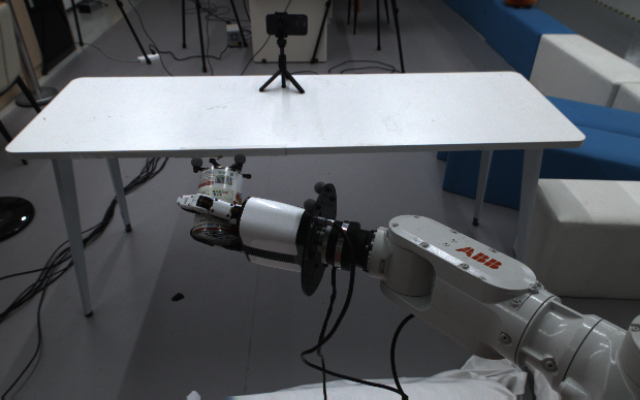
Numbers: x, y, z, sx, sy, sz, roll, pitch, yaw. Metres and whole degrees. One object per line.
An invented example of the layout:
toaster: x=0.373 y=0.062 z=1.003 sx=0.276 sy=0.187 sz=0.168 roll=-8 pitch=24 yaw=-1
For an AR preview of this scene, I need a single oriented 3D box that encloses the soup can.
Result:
soup can: x=-0.149 y=0.010 z=0.714 sx=0.067 sy=0.067 sz=0.101 roll=1 pitch=68 yaw=-1
